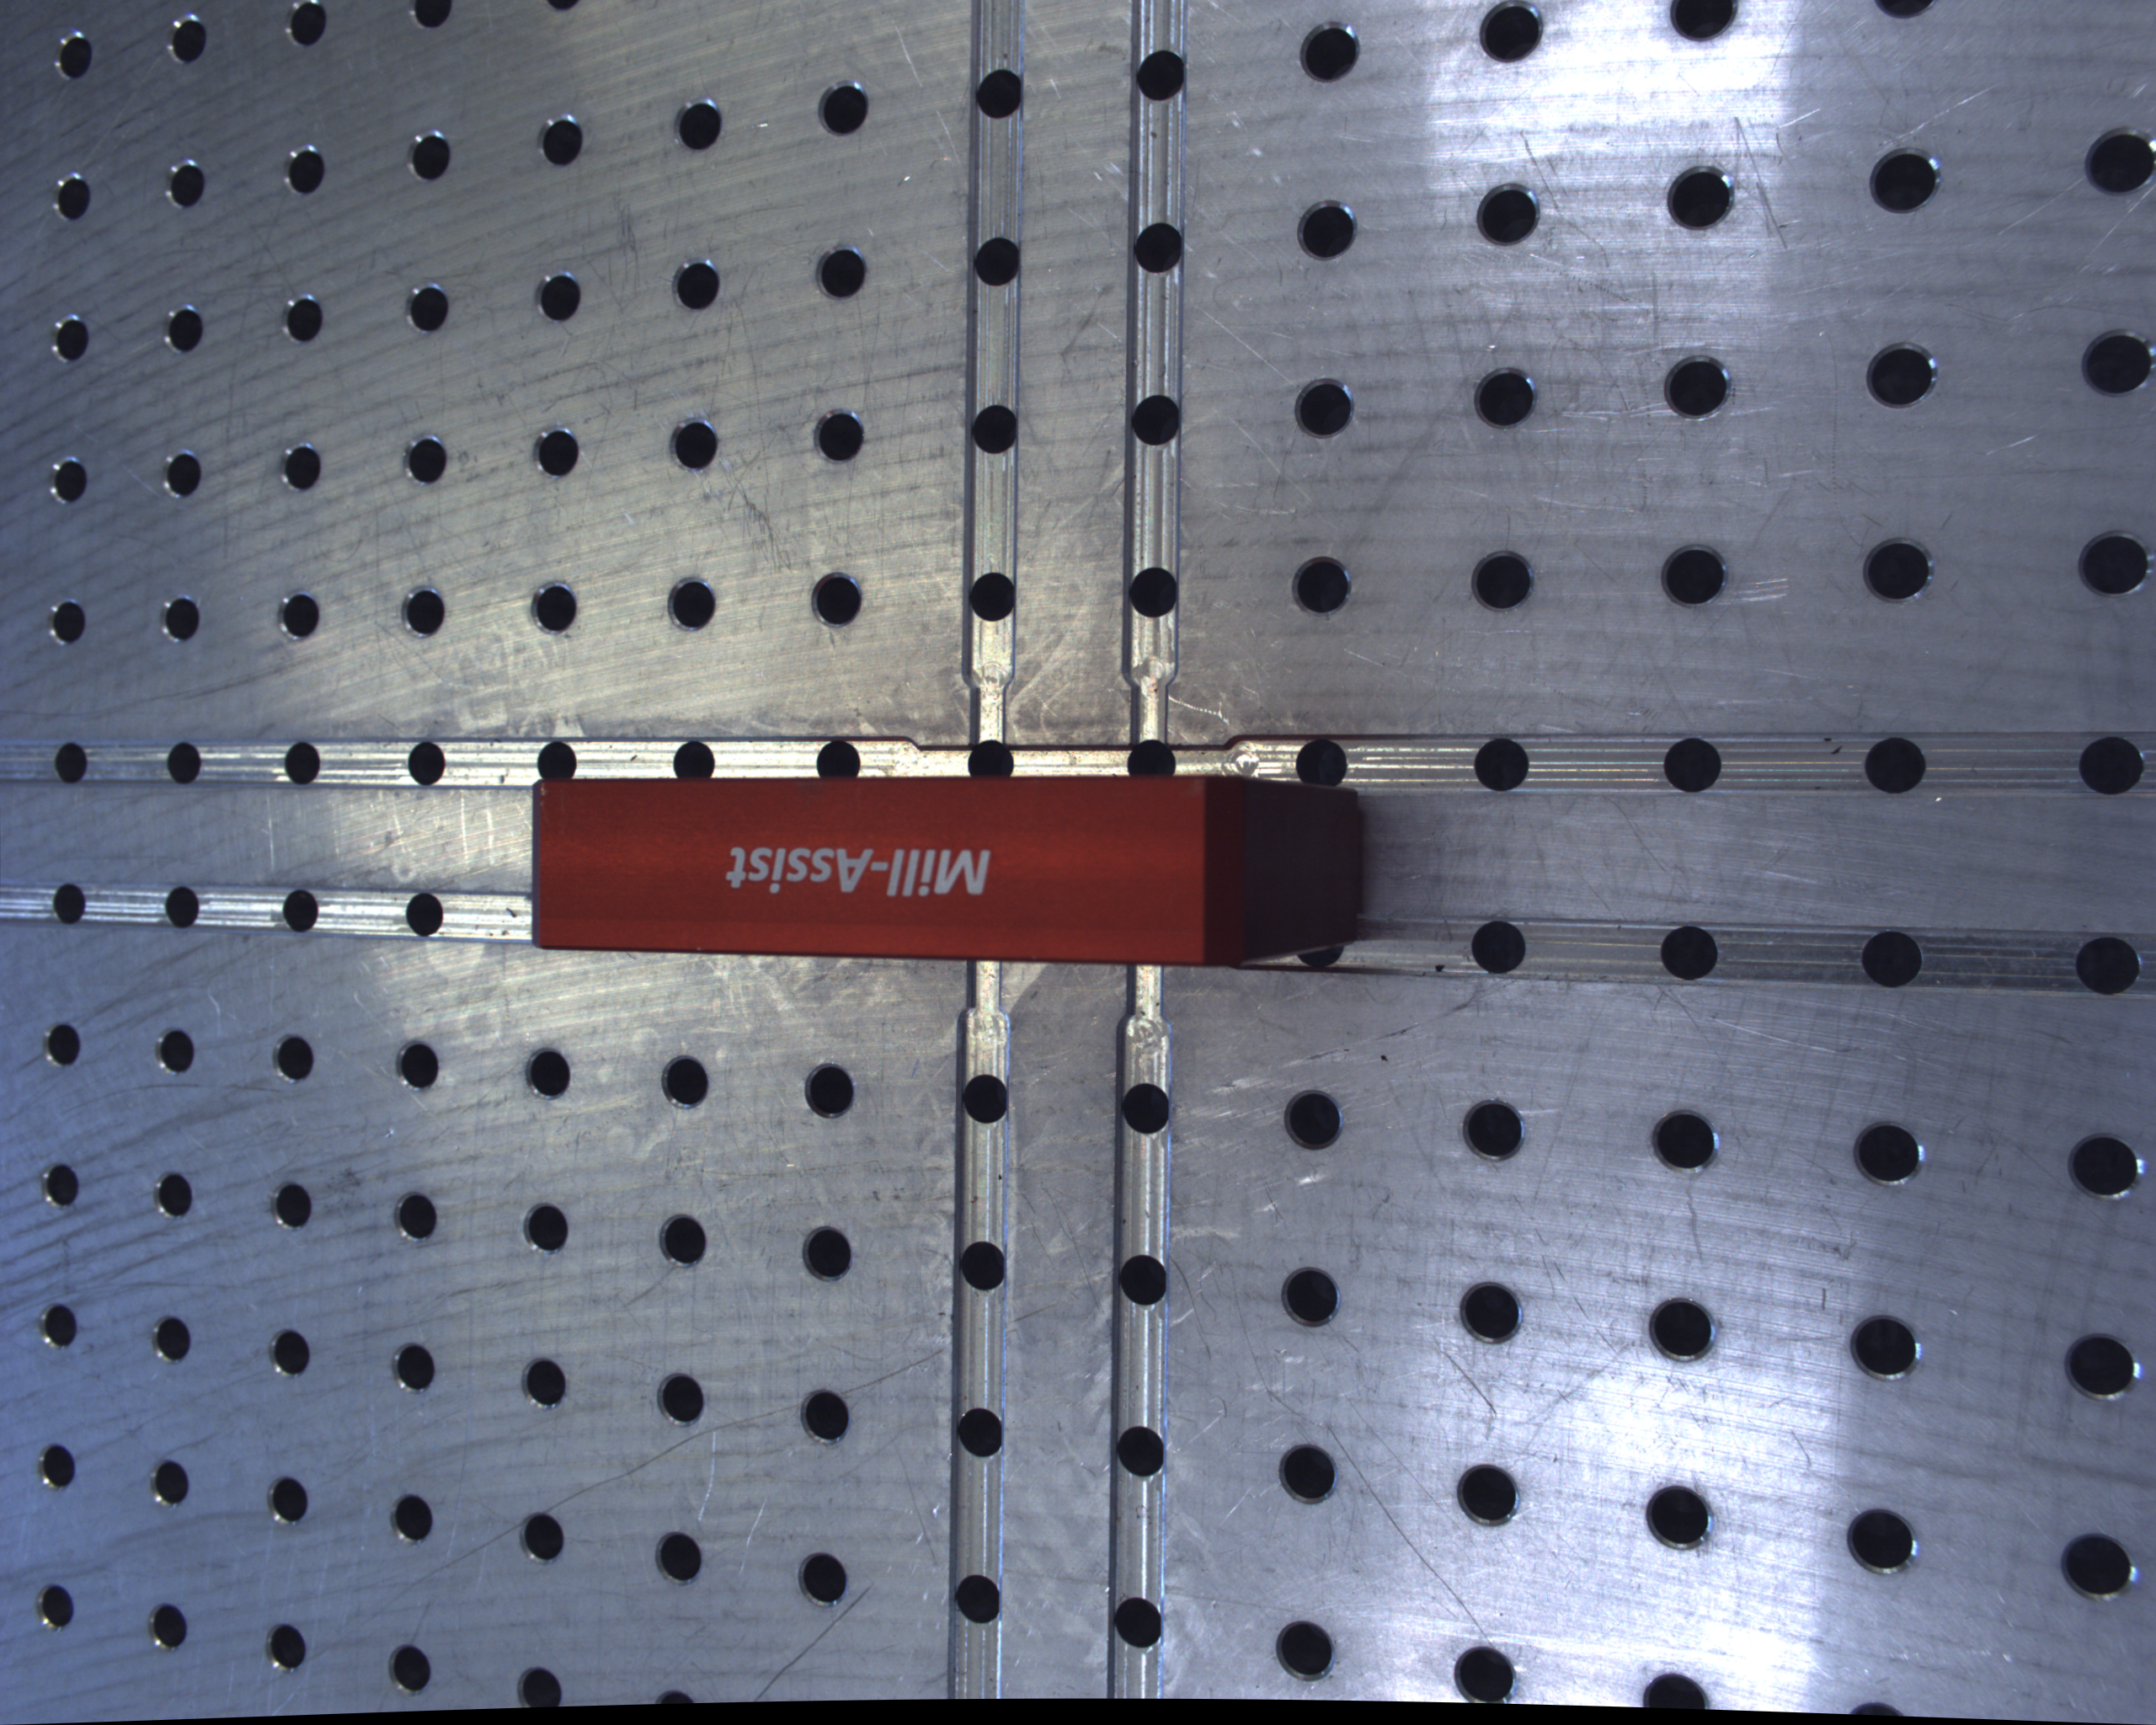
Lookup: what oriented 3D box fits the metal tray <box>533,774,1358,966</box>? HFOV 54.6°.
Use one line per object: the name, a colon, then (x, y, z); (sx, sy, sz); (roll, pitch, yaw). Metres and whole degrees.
metal tray: (-0.021, 0.000, 0.386); (0.130, 0.090, 0.030); (0, 91, 20)
